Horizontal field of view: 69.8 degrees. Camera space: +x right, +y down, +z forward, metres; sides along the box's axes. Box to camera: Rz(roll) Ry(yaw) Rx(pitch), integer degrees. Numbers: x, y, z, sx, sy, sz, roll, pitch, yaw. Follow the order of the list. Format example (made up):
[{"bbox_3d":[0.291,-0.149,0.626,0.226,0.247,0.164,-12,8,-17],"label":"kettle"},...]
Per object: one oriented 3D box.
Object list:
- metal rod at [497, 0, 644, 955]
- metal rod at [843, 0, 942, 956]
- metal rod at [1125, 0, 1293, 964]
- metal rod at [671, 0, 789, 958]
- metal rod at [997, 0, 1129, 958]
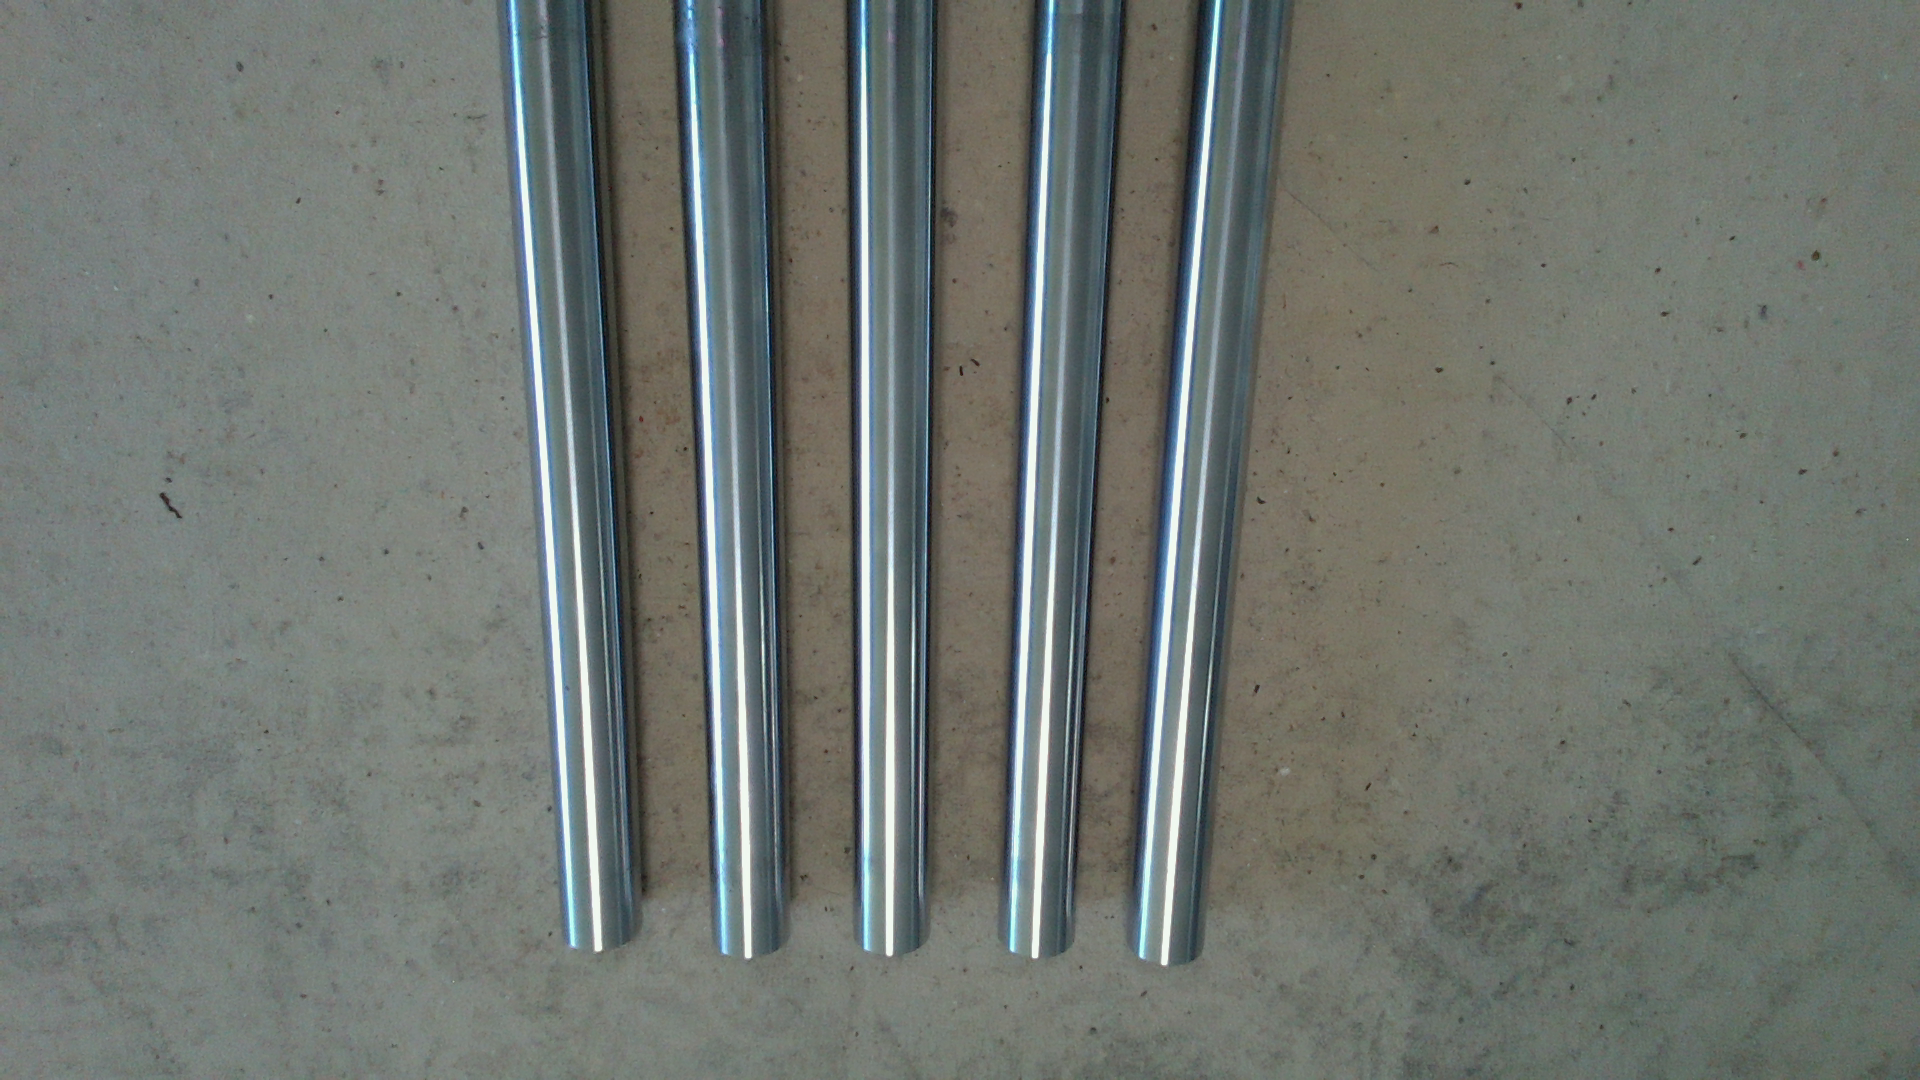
[{"bbox_3d":[-0.107,-0.017,0.386,0.025,0.025,0.300,2,110,-1],"label":"metal rod"},{"bbox_3d":[-0.019,-0.016,0.388,0.025,0.025,0.300,1,110,0],"label":"metal rod"},{"bbox_3d":[0.068,-0.013,0.390,0.025,0.025,0.300,1,110,0],"label":"metal rod"},{"bbox_3d":[-0.063,-0.015,0.388,0.025,0.025,0.300,1,110,-1],"label":"metal rod"},{"bbox_3d":[0.027,-0.015,0.388,0.025,0.025,0.300,1,110,0],"label":"metal rod"}]
